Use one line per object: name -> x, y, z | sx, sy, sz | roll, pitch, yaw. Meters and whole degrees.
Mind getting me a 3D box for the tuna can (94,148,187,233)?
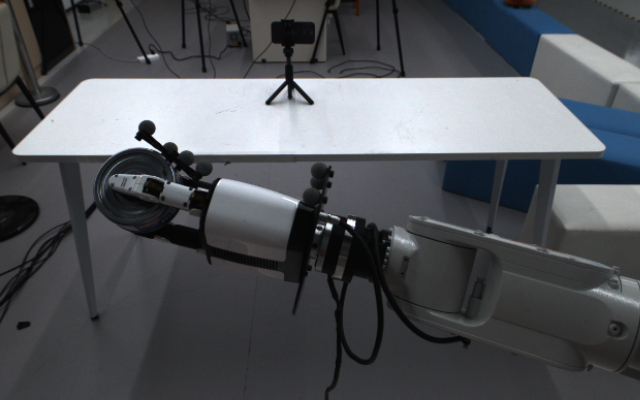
tuna can -> -0.185, -0.004, 0.505 | 0.085, 0.034, 0.085 | 0, 74, -1
